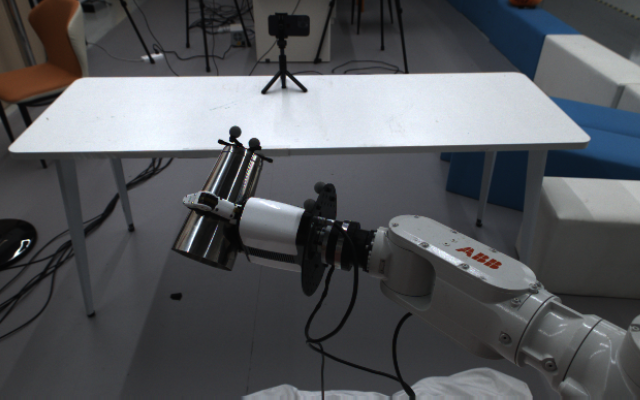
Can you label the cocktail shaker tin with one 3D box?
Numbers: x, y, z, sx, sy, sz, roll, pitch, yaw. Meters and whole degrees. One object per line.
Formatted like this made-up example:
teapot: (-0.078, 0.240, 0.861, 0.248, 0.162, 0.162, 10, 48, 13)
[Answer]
cocktail shaker tin: (-0.144, 0.010, 0.716, 0.093, 0.093, 0.170, 14, 73, 16)
